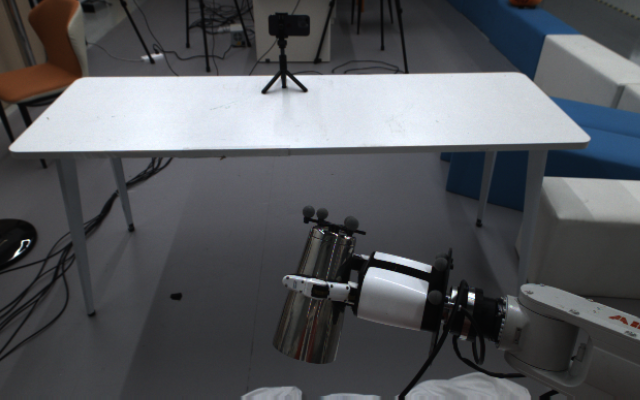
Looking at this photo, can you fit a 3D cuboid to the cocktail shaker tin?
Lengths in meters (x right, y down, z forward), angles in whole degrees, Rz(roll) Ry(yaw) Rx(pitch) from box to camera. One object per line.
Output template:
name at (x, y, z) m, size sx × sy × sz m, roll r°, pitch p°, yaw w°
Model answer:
cocktail shaker tin at (-0.001, 0.126, 0.673) m, size 0.093 × 0.170 × 0.093 m, roll 14°, pitch 2°, yaw 0°
